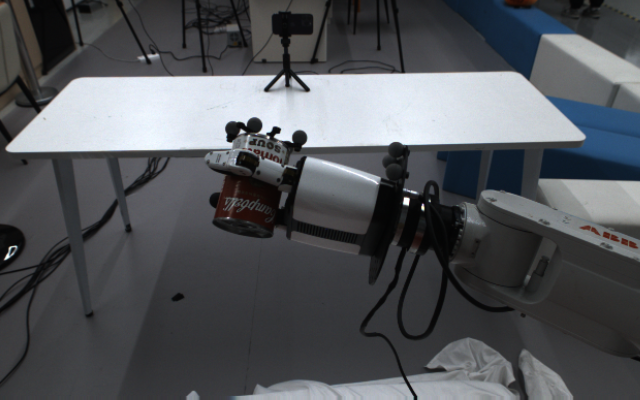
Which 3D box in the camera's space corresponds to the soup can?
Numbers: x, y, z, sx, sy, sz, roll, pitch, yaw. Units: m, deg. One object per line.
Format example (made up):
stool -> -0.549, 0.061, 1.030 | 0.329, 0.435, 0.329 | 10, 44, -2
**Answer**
soup can -> -0.073, -0.015, 0.537 | 0.067, 0.067, 0.101 | 8, 72, 9
